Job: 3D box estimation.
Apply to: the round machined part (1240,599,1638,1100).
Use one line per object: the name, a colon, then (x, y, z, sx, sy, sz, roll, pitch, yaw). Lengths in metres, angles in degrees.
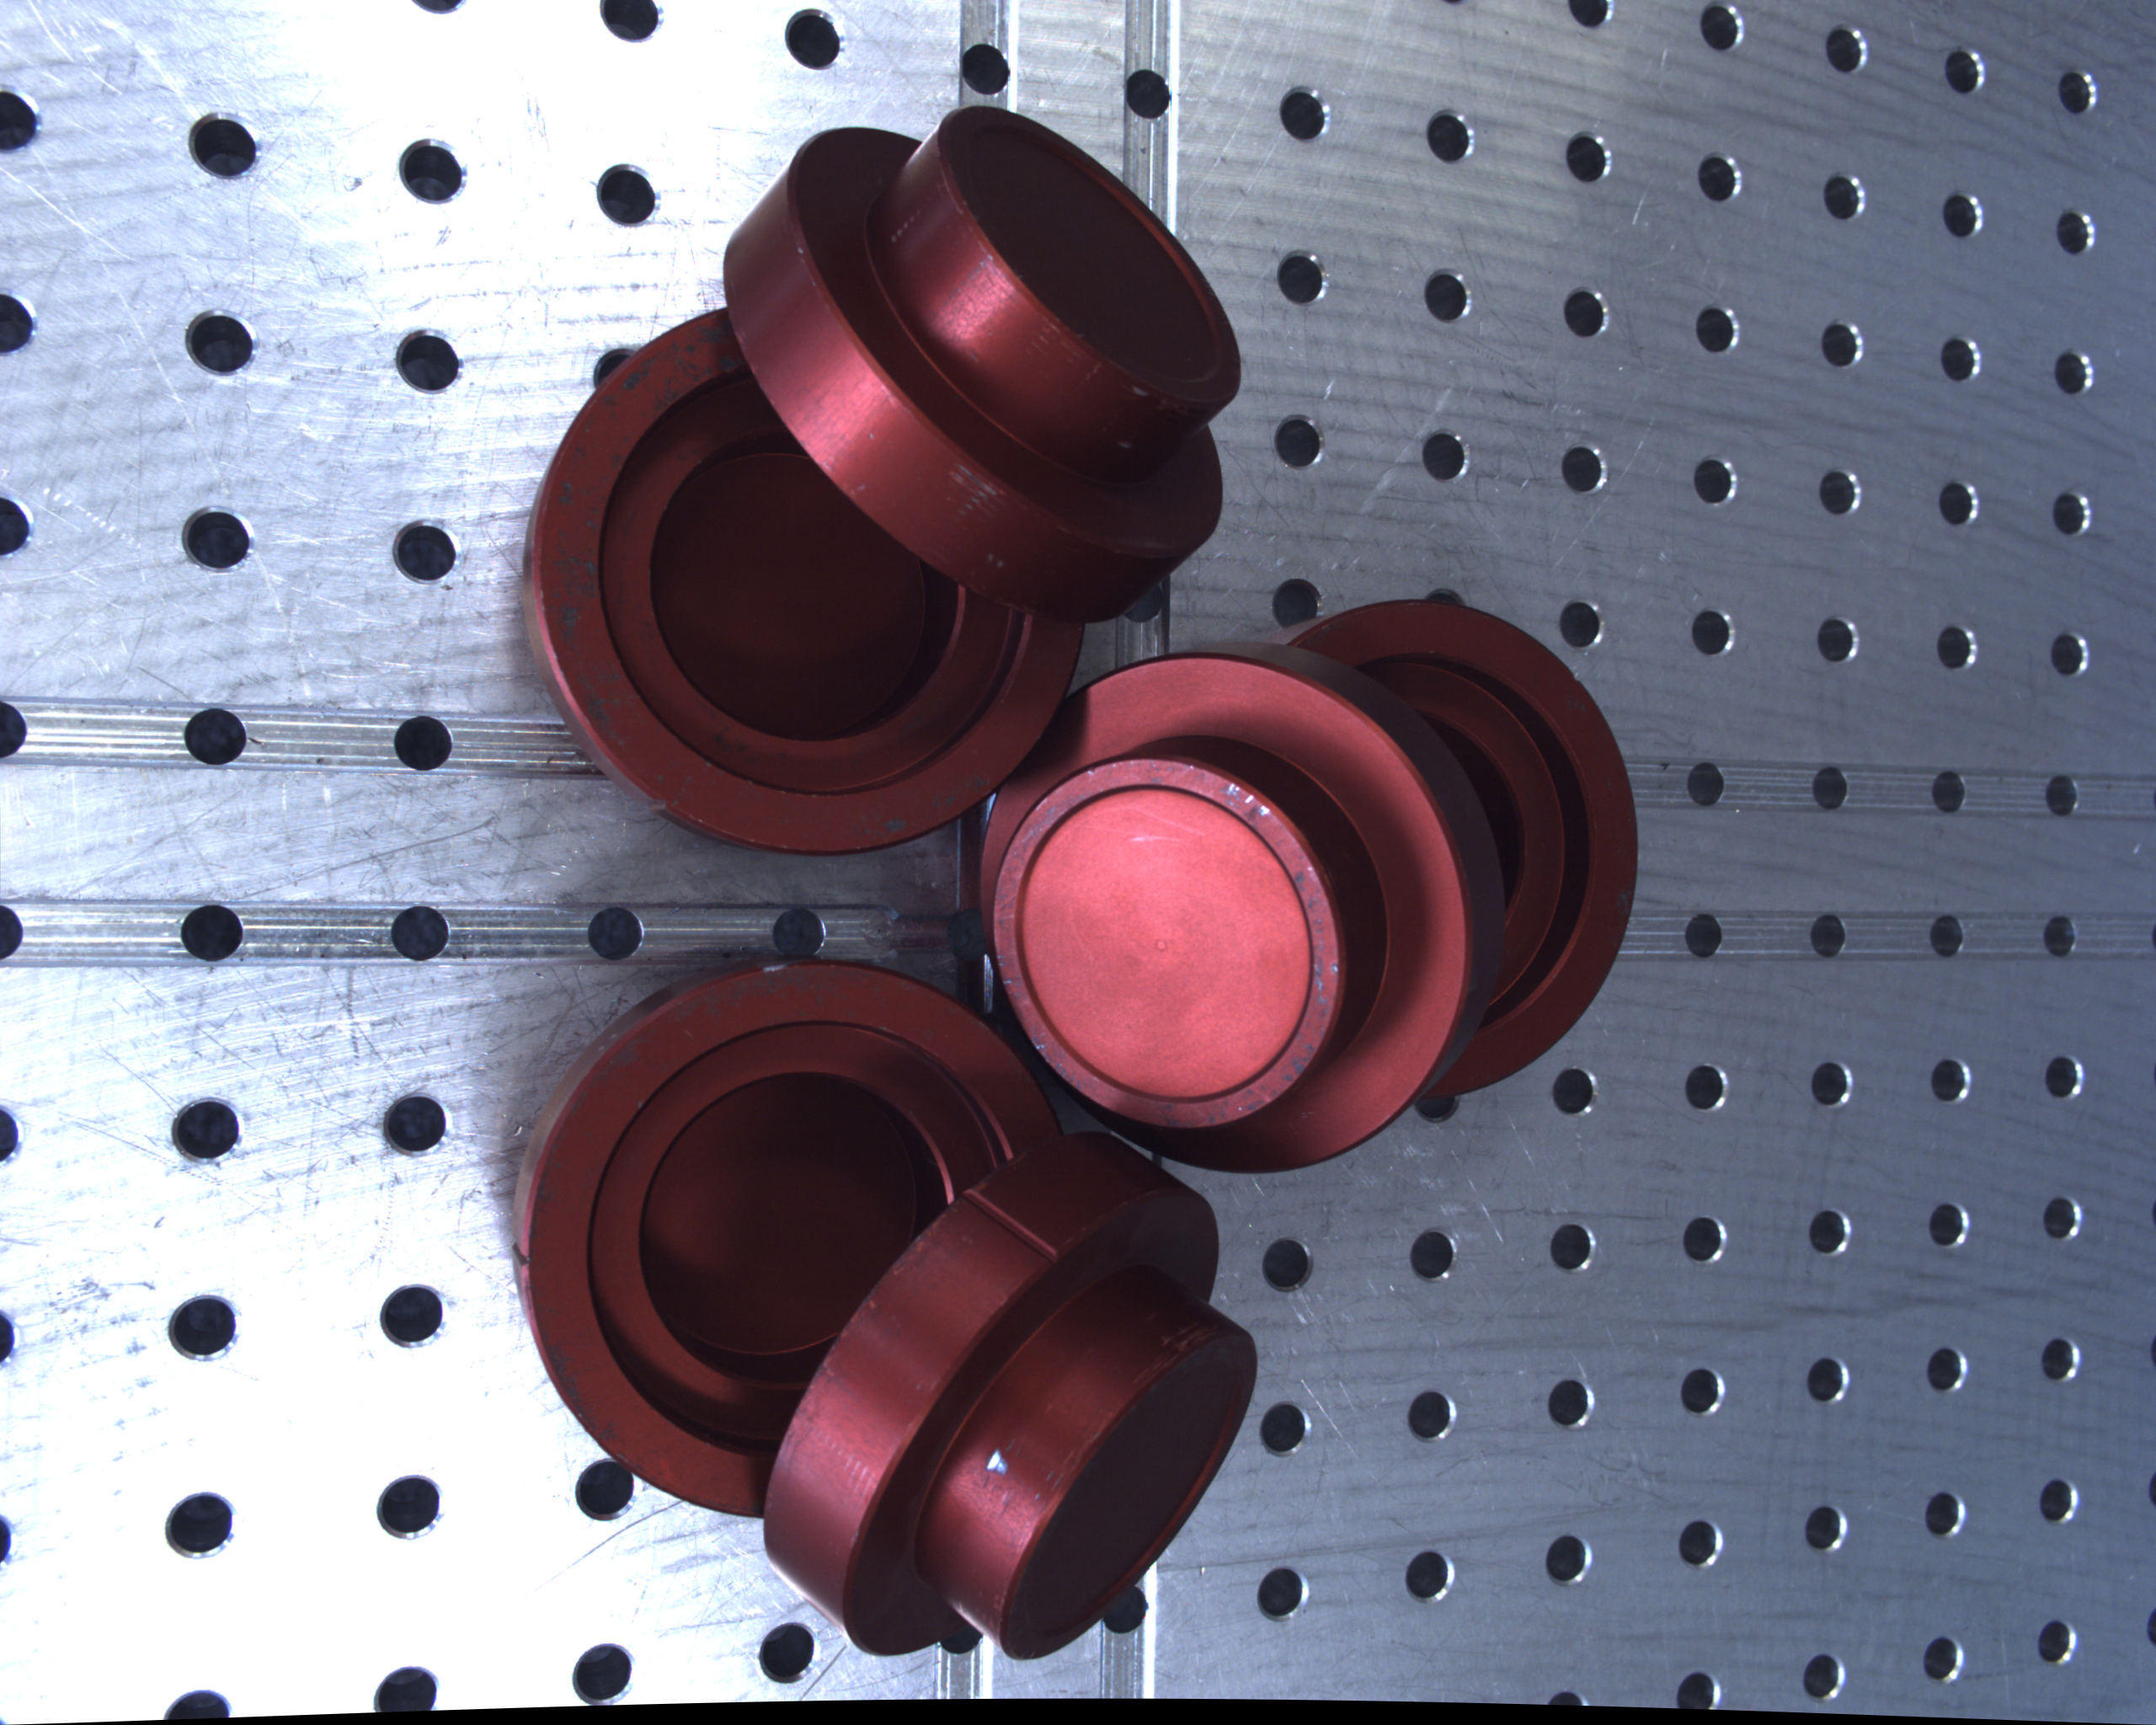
round machined part: (0.060, -0.003, 0.425, 0.099, 0.042, 0.097, 0, 90, -20)

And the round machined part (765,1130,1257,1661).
round machined part: (-0.005, 0.100, 0.371, 0.099, 0.042, 0.097, -39, 146, -32)

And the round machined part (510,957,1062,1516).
round machined part: (-0.053, 0.065, 0.383, 0.099, 0.042, 0.097, 0, 90, -20)

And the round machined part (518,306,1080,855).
round machined part: (-0.052, -0.050, 0.383, 0.099, 0.042, 0.097, 0, 90, -20)

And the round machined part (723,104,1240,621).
round machined part: (-0.010, -0.094, 0.370, 0.098, 0.042, 0.098, 32, 36, -26)

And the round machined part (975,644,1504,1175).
round machined part: (0.024, 0.010, 0.380, 0.042, 0.098, 0.098, -22, 100, -61)
